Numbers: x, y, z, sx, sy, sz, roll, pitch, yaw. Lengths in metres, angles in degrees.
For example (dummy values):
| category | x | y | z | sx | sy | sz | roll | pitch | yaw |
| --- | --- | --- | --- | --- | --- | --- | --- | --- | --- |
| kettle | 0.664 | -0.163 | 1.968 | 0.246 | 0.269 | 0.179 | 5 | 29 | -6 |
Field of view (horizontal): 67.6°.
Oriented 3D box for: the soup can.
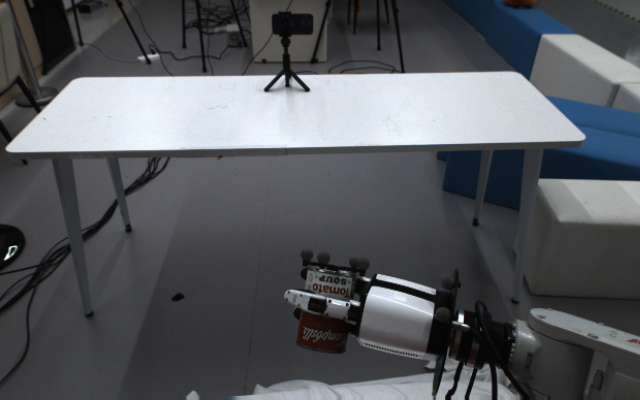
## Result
| category | x | y | z | sx | sy | sz | roll | pitch | yaw |
| --- | --- | --- | --- | --- | --- | --- | --- | --- | --- |
| soup can | 0.010 | 0.143 | 0.639 | 0.067 | 0.101 | 0.067 | 9 | -6 | 1 |
